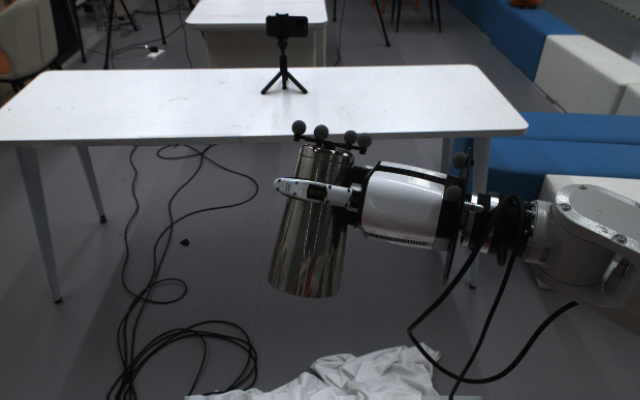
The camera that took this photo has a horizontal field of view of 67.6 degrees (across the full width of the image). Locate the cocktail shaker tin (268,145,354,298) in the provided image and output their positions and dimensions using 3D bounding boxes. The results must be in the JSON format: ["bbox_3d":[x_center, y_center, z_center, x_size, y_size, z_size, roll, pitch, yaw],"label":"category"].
[{"bbox_3d":[-0.002,0.020,0.592,0.093,0.170,0.093,10,9,-2],"label":"cocktail shaker tin"}]
